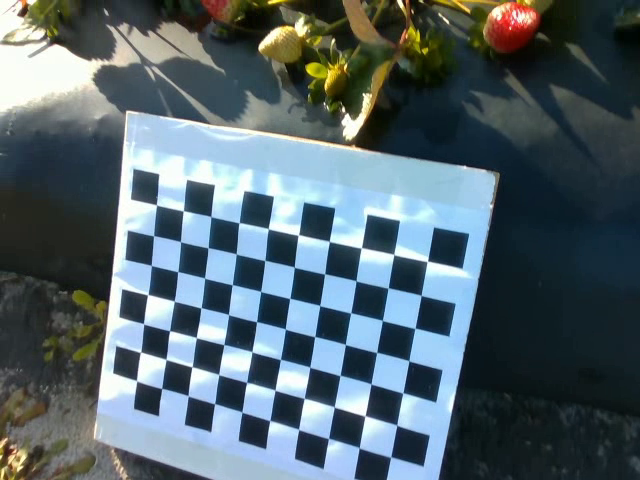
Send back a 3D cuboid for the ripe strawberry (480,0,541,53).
[{"bbox_3d":[0.121,-0.125,0.407,0.042,0.037,0.045,-10,4,-8],"label":"ripe strawberry"}]
